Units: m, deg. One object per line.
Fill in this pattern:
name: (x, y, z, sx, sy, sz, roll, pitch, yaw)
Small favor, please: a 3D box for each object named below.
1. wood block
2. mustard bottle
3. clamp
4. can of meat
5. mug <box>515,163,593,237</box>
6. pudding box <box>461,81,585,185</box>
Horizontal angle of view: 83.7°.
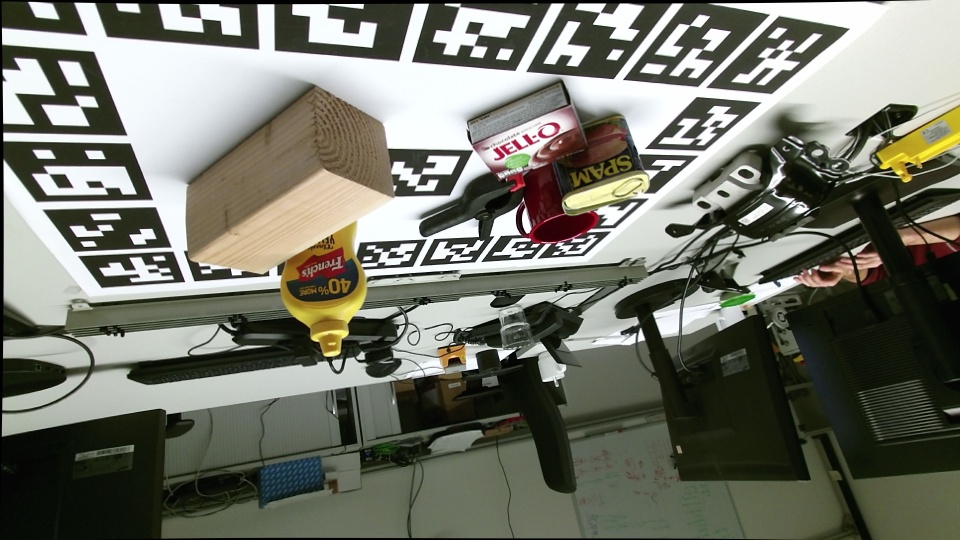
wood block: (-0.201, -0.079, 0.544, 0.207, 0.090, 0.090, -24, 158, 28)
mustard bottle: (-0.181, 0.013, 0.626, 0.096, 0.190, 0.058, -8, 156, -17)
clamp: (0.000, -0.078, 0.734, 0.122, 0.036, 0.165, 7, 148, -38)
can of meat: (0.139, -0.120, 0.630, 0.102, 0.083, 0.058, -17, 156, 7)
mug: (0.090, -0.097, 0.728, 0.093, 0.081, 0.117, 7, 148, -41)
pudding box: (0.048, -0.146, 0.586, 0.114, 0.038, 0.090, -19, 157, 16)
